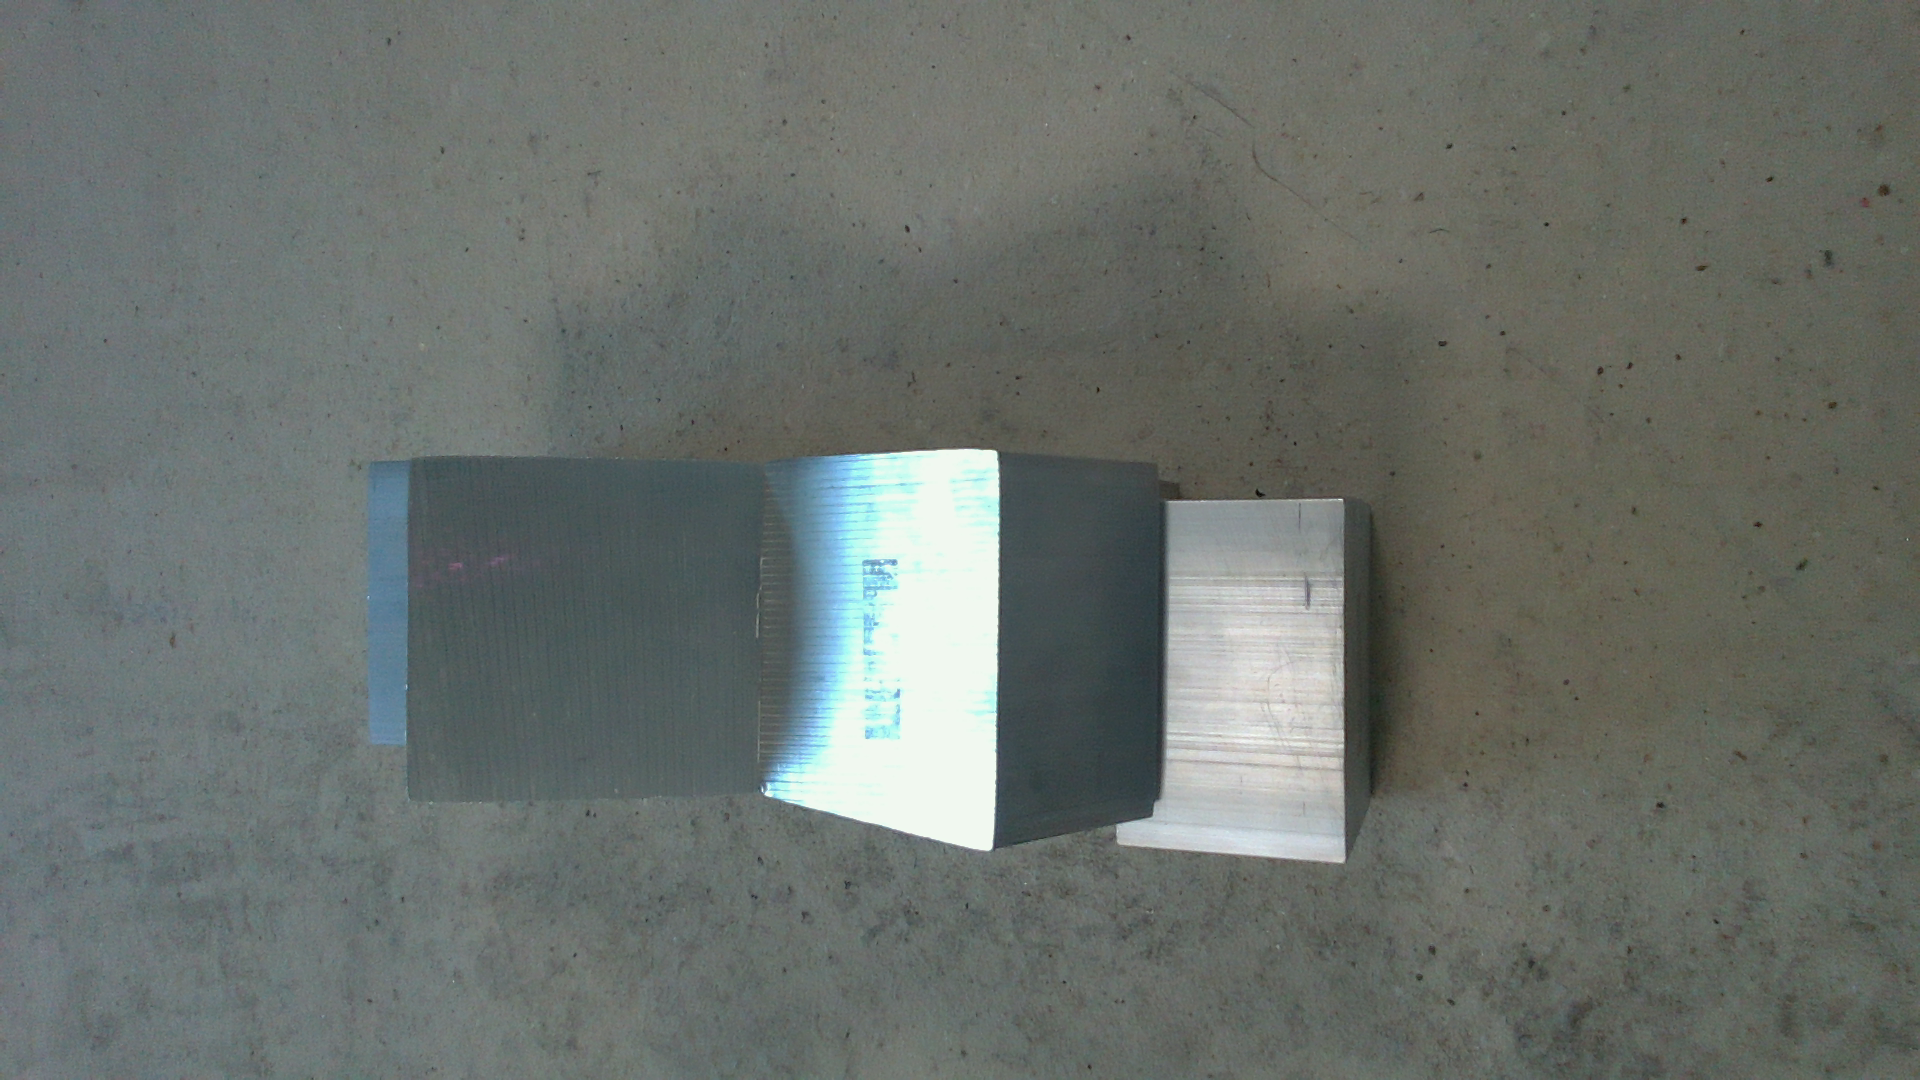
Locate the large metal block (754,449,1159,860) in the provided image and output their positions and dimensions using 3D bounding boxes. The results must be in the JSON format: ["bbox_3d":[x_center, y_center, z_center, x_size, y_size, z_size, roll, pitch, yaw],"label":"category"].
[{"bbox_3d":[-0.002,0.022,0.314,0.080,0.050,0.080,1,90,47],"label":"large metal block"}]

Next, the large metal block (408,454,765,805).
[{"bbox_3d":[-0.090,0.021,0.345,0.080,0.050,0.080,0,90,-9],"label":"large metal block"}]

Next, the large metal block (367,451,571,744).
[{"bbox_3d":[-0.127,0.017,0.412,0.050,0.080,0.080,-1,89,21],"label":"large metal block"}]

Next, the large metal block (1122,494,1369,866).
[{"bbox_3d":[0.074,0.030,0.342,0.050,0.080,0.080,0,90,19],"label":"large metal block"}]

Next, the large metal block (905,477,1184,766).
[{"bbox_3d":[0.017,0.024,0.376,0.080,0.050,0.080,0,90,20],"label":"large metal block"}]

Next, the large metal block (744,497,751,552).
[{"bbox_3d":[-0.059,0.021,0.404,0.080,0.050,0.080,0,90,20],"label":"large metal block"}]
